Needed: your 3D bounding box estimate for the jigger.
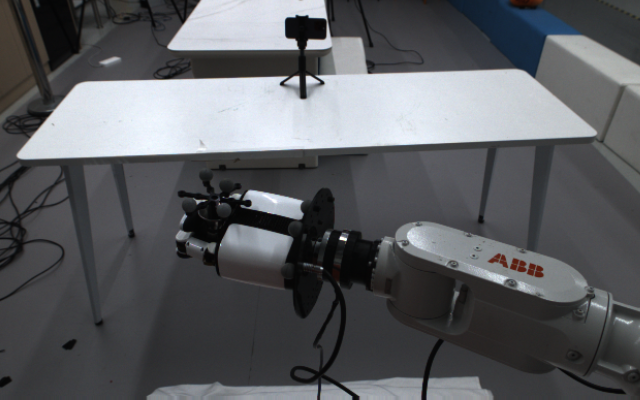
[{"bbox_3d":[-0.130,0.042,0.612,0.043,0.071,0.043,6,32,-4],"label":"jigger"}]
